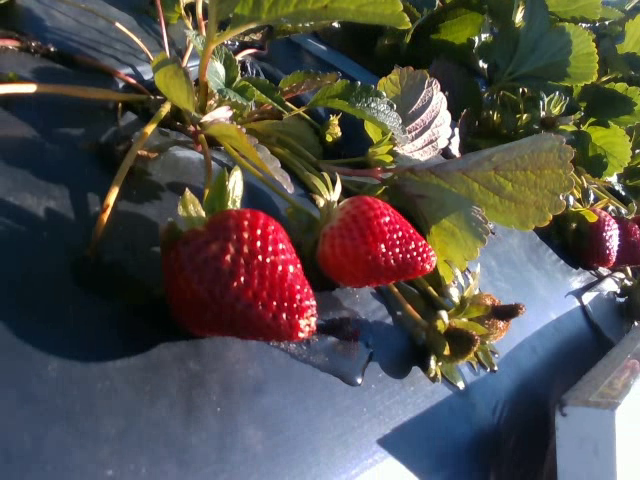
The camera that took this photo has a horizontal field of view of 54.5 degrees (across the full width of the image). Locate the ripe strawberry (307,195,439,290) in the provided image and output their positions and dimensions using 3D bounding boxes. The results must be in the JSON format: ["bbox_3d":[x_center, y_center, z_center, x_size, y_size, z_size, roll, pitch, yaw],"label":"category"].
[{"bbox_3d":[0.023,0.003,0.233,0.049,0.042,0.039,19,-31,18],"label":"ripe strawberry"}]

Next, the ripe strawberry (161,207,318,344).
[{"bbox_3d":[-0.019,0.014,0.174,0.050,0.044,0.051,28,6,39],"label":"ripe strawberry"}]
